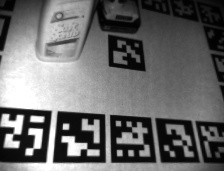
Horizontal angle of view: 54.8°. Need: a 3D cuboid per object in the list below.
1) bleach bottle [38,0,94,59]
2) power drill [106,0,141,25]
[{"bbox_3d":[-0.083,-0.137,0.384,0.103,0.250,0.067,-3,68,-18],"label":"bleach bottle"},{"bbox_3d":[0.077,-0.221,0.509,0.186,0.186,0.057,1,69,-24],"label":"power drill"}]
